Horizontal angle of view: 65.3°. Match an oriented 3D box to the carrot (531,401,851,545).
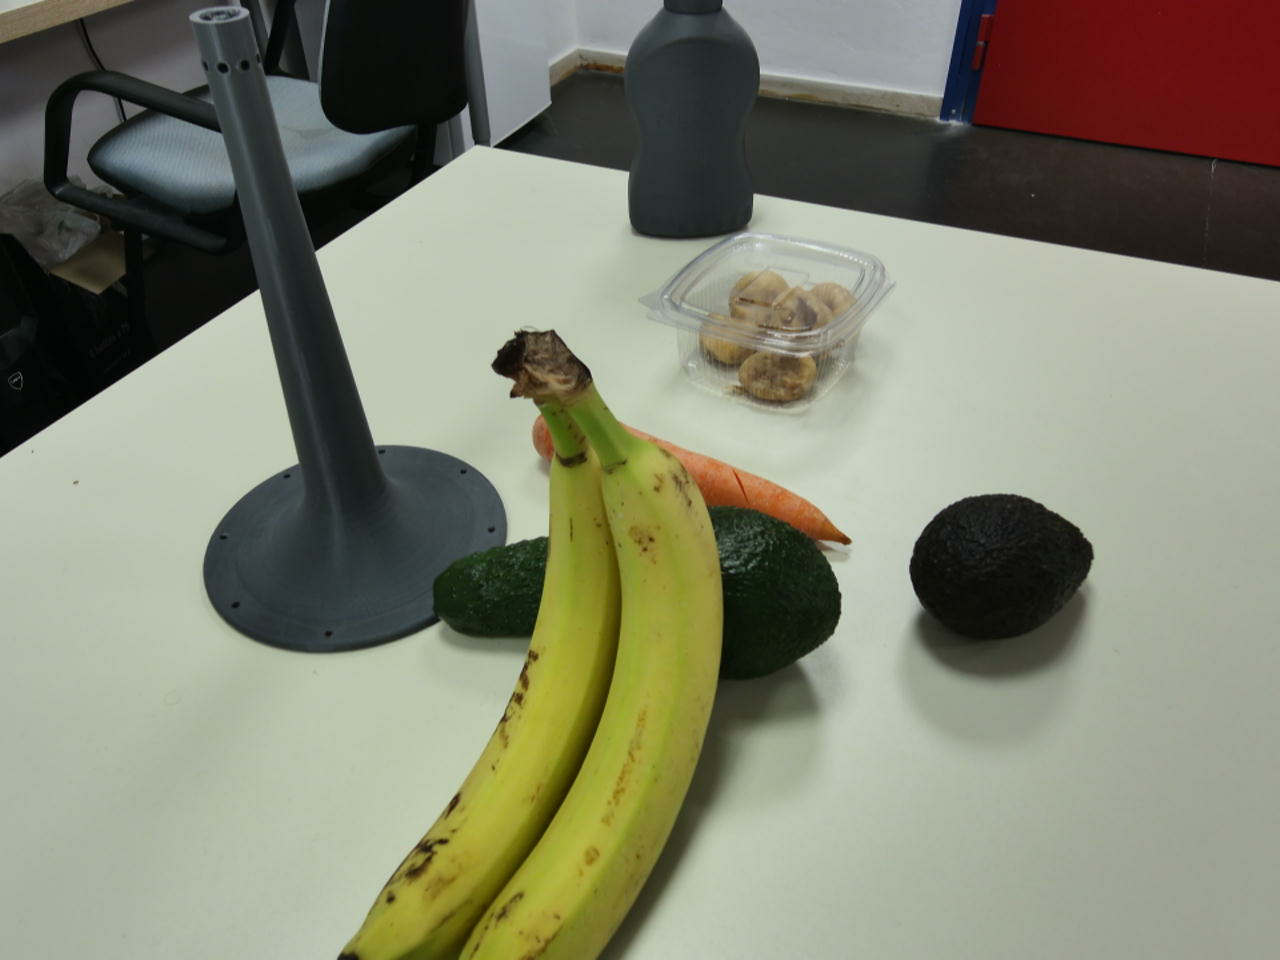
[{"bbox_3d":[0.027,-0.005,0.564,0.196,0.041,0.039,17,41,20],"label":"carrot"}]
